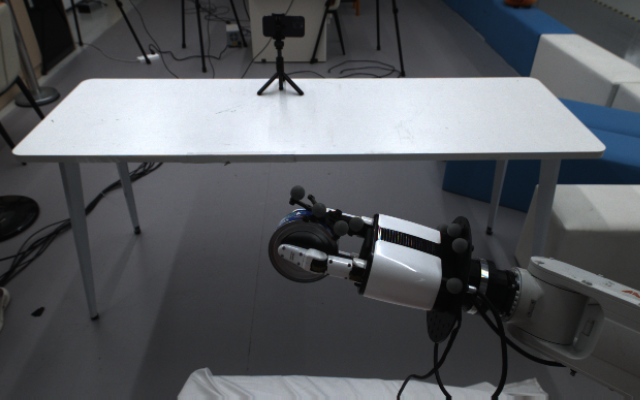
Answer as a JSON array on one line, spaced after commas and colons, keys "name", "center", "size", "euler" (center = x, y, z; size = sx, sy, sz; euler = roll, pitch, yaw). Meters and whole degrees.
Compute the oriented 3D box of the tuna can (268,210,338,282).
[{"name": "tuna can", "center": [-0.017, 0.057, 0.600], "size": [0.085, 0.085, 0.034], "euler": [4, 20, 3]}]
